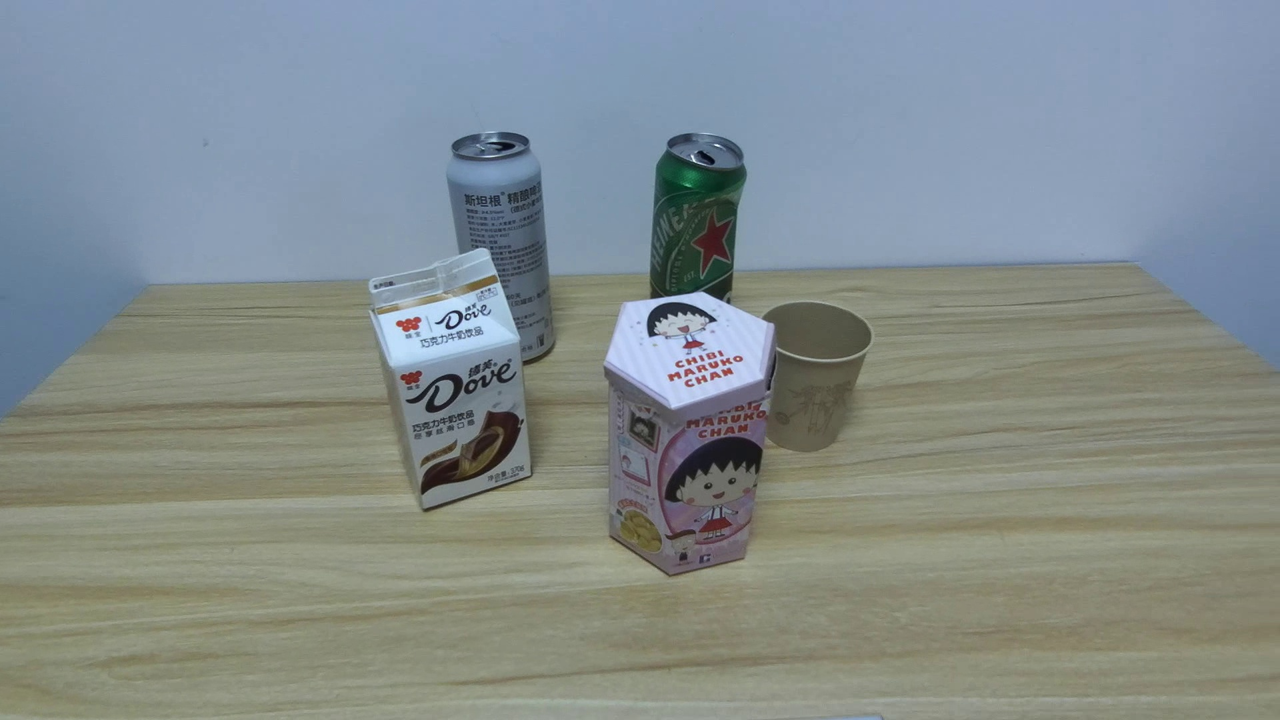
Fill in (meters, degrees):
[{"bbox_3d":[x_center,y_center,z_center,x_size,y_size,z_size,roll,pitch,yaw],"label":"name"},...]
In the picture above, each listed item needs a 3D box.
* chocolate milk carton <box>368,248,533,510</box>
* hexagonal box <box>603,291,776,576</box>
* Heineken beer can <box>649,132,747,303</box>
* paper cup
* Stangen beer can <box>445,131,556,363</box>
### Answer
[{"bbox_3d":[-0.116,0.006,0.433,0.075,0.148,0.073,-15,37,-23],"label":"chocolate milk carton"},{"bbox_3d":[0.026,0.041,0.389,0.092,0.135,0.084,-9,36,-13],"label":"hexagonal box"},{"bbox_3d":[0.043,-0.080,0.535,0.068,0.168,0.069,-1,37,-5],"label":"Heineken beer can"},{"bbox_3d":[0.111,0.014,0.472,0.075,0.082,0.075,-1,35,1],"label":"paper cup"},{"bbox_3d":[-0.103,-0.081,0.540,0.067,0.171,0.067,-1,33,1],"label":"Stangen beer can"}]
